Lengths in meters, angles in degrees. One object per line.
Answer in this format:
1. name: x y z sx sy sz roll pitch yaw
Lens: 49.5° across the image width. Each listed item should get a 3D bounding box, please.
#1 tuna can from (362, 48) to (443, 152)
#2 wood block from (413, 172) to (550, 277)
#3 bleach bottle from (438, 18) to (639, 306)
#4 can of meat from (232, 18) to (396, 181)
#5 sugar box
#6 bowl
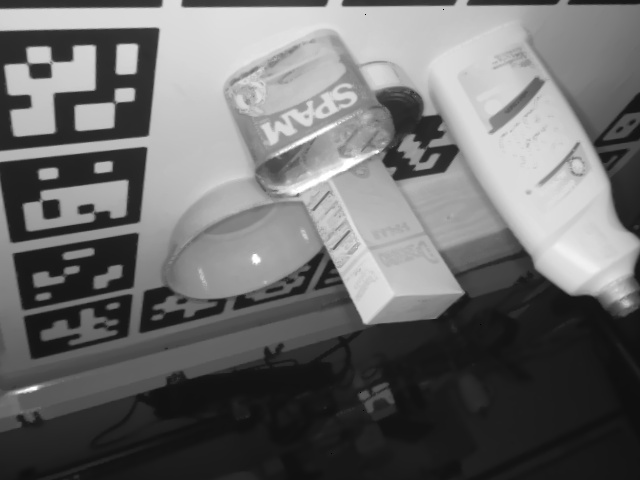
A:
1. tuna can: 0.057 -0.116 0.579 0.086 0.034 0.085 -19 146 -13
2. wood block: 0.160 -0.007 0.776 0.208 0.090 0.090 -14 143 -17
3. bleach bottle: 0.191 -0.063 0.551 0.103 0.251 0.067 -23 150 -3
4. can of meat: -0.007 -0.105 0.514 0.102 0.084 0.058 -24 152 2
5. sugar box: 0.047 -0.021 0.578 0.094 0.176 0.044 4 137 -44
6. bowl: -0.068 -0.009 0.637 0.163 0.055 0.160 -22 151 -12
